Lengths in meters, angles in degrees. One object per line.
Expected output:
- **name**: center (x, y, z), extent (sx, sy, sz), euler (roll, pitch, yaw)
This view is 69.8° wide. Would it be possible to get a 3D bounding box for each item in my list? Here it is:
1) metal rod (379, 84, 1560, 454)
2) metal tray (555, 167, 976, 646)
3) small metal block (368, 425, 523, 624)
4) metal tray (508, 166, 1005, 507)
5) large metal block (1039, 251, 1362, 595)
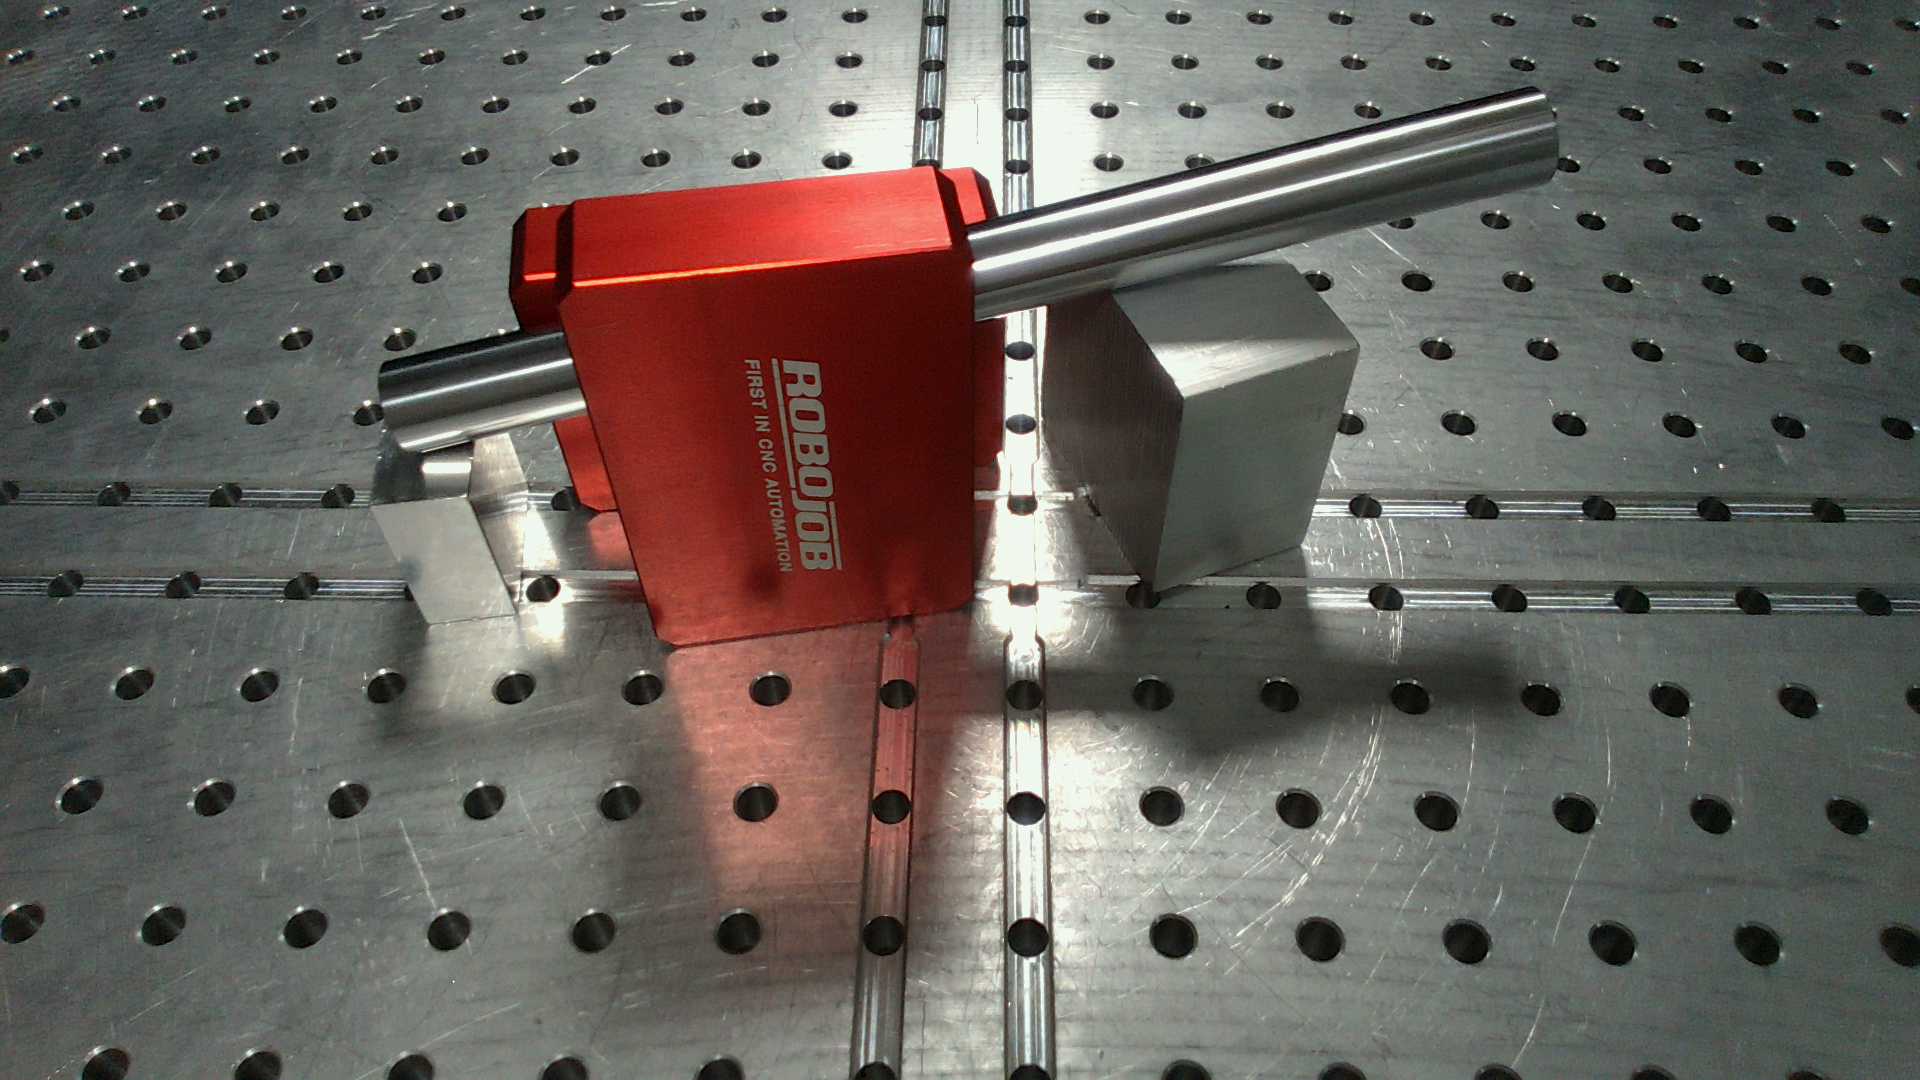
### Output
- **metal rod**: center (0.001, -0.069, 0.354), extent (0.300, 0.025, 0.025), euler (-13, 50, 1)
- **metal tray**: center (-0.043, -0.028, 0.349), extent (0.090, 0.130, 0.030), euler (-7, 51, -6)
- **small metal block**: center (-0.143, -0.013, 0.388), extent (0.025, 0.050, 0.050), euler (-6, 50, -5)
- **metal tray**: center (-0.054, -0.057, 0.399), extent (0.130, 0.090, 0.030), euler (-7, 51, -6)
- **large metal block**: center (0.064, -0.045, 0.396), extent (0.050, 0.080, 0.080), euler (-18, 52, -14)
